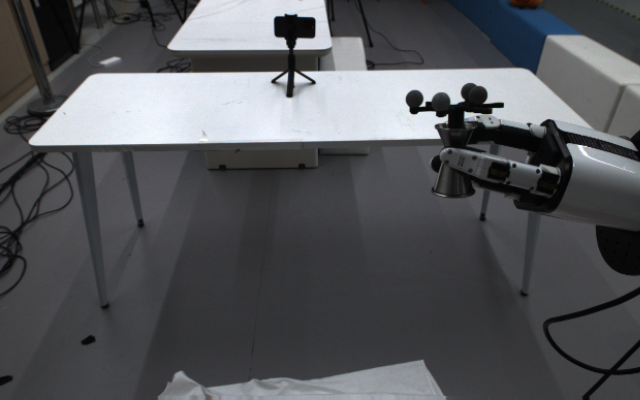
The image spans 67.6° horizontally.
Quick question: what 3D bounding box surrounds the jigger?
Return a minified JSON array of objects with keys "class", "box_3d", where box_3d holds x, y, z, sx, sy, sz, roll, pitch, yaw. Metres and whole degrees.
[{"class":"jigger","box_3d":[0.134,-0.040,0.485,0.043,0.071,0.043,-2,19,1]}]
